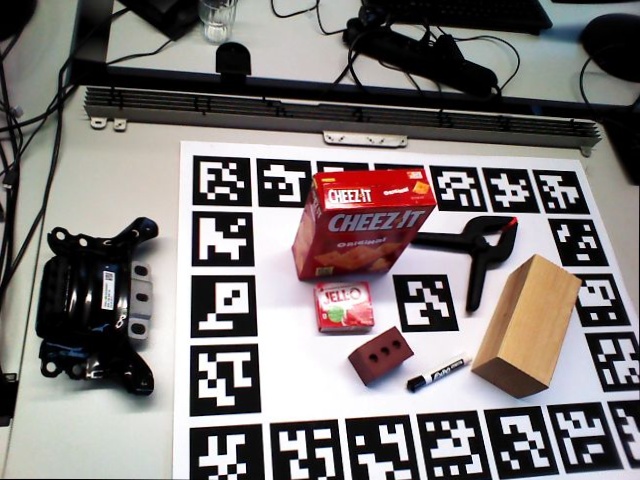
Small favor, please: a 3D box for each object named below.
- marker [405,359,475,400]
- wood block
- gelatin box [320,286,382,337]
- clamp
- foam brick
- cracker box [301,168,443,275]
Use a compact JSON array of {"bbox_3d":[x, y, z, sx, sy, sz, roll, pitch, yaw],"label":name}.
[{"bbox_3d":[0.184,0.214,0.793,0.121,0.020,0.019,-19,72,-19],"label":"marker"},{"bbox_3d":[0.343,0.143,0.824,0.090,0.091,0.205,31,60,6],"label":"wood block"},{"bbox_3d":[0.047,0.111,0.812,0.089,0.030,0.073,-1,67,-12],"label":"gelatin box"},{"bbox_3d":[0.289,0.017,0.899,0.202,0.037,0.165,-30,75,-22],"label":"clamp"},{"bbox_3d":[0.096,0.180,0.774,0.078,0.051,0.052,-24,74,-20],"label":"foam brick"},{"bbox_3d":[0.072,-0.021,0.768,0.164,0.215,0.071,-2,64,-15],"label":"cracker box"}]
